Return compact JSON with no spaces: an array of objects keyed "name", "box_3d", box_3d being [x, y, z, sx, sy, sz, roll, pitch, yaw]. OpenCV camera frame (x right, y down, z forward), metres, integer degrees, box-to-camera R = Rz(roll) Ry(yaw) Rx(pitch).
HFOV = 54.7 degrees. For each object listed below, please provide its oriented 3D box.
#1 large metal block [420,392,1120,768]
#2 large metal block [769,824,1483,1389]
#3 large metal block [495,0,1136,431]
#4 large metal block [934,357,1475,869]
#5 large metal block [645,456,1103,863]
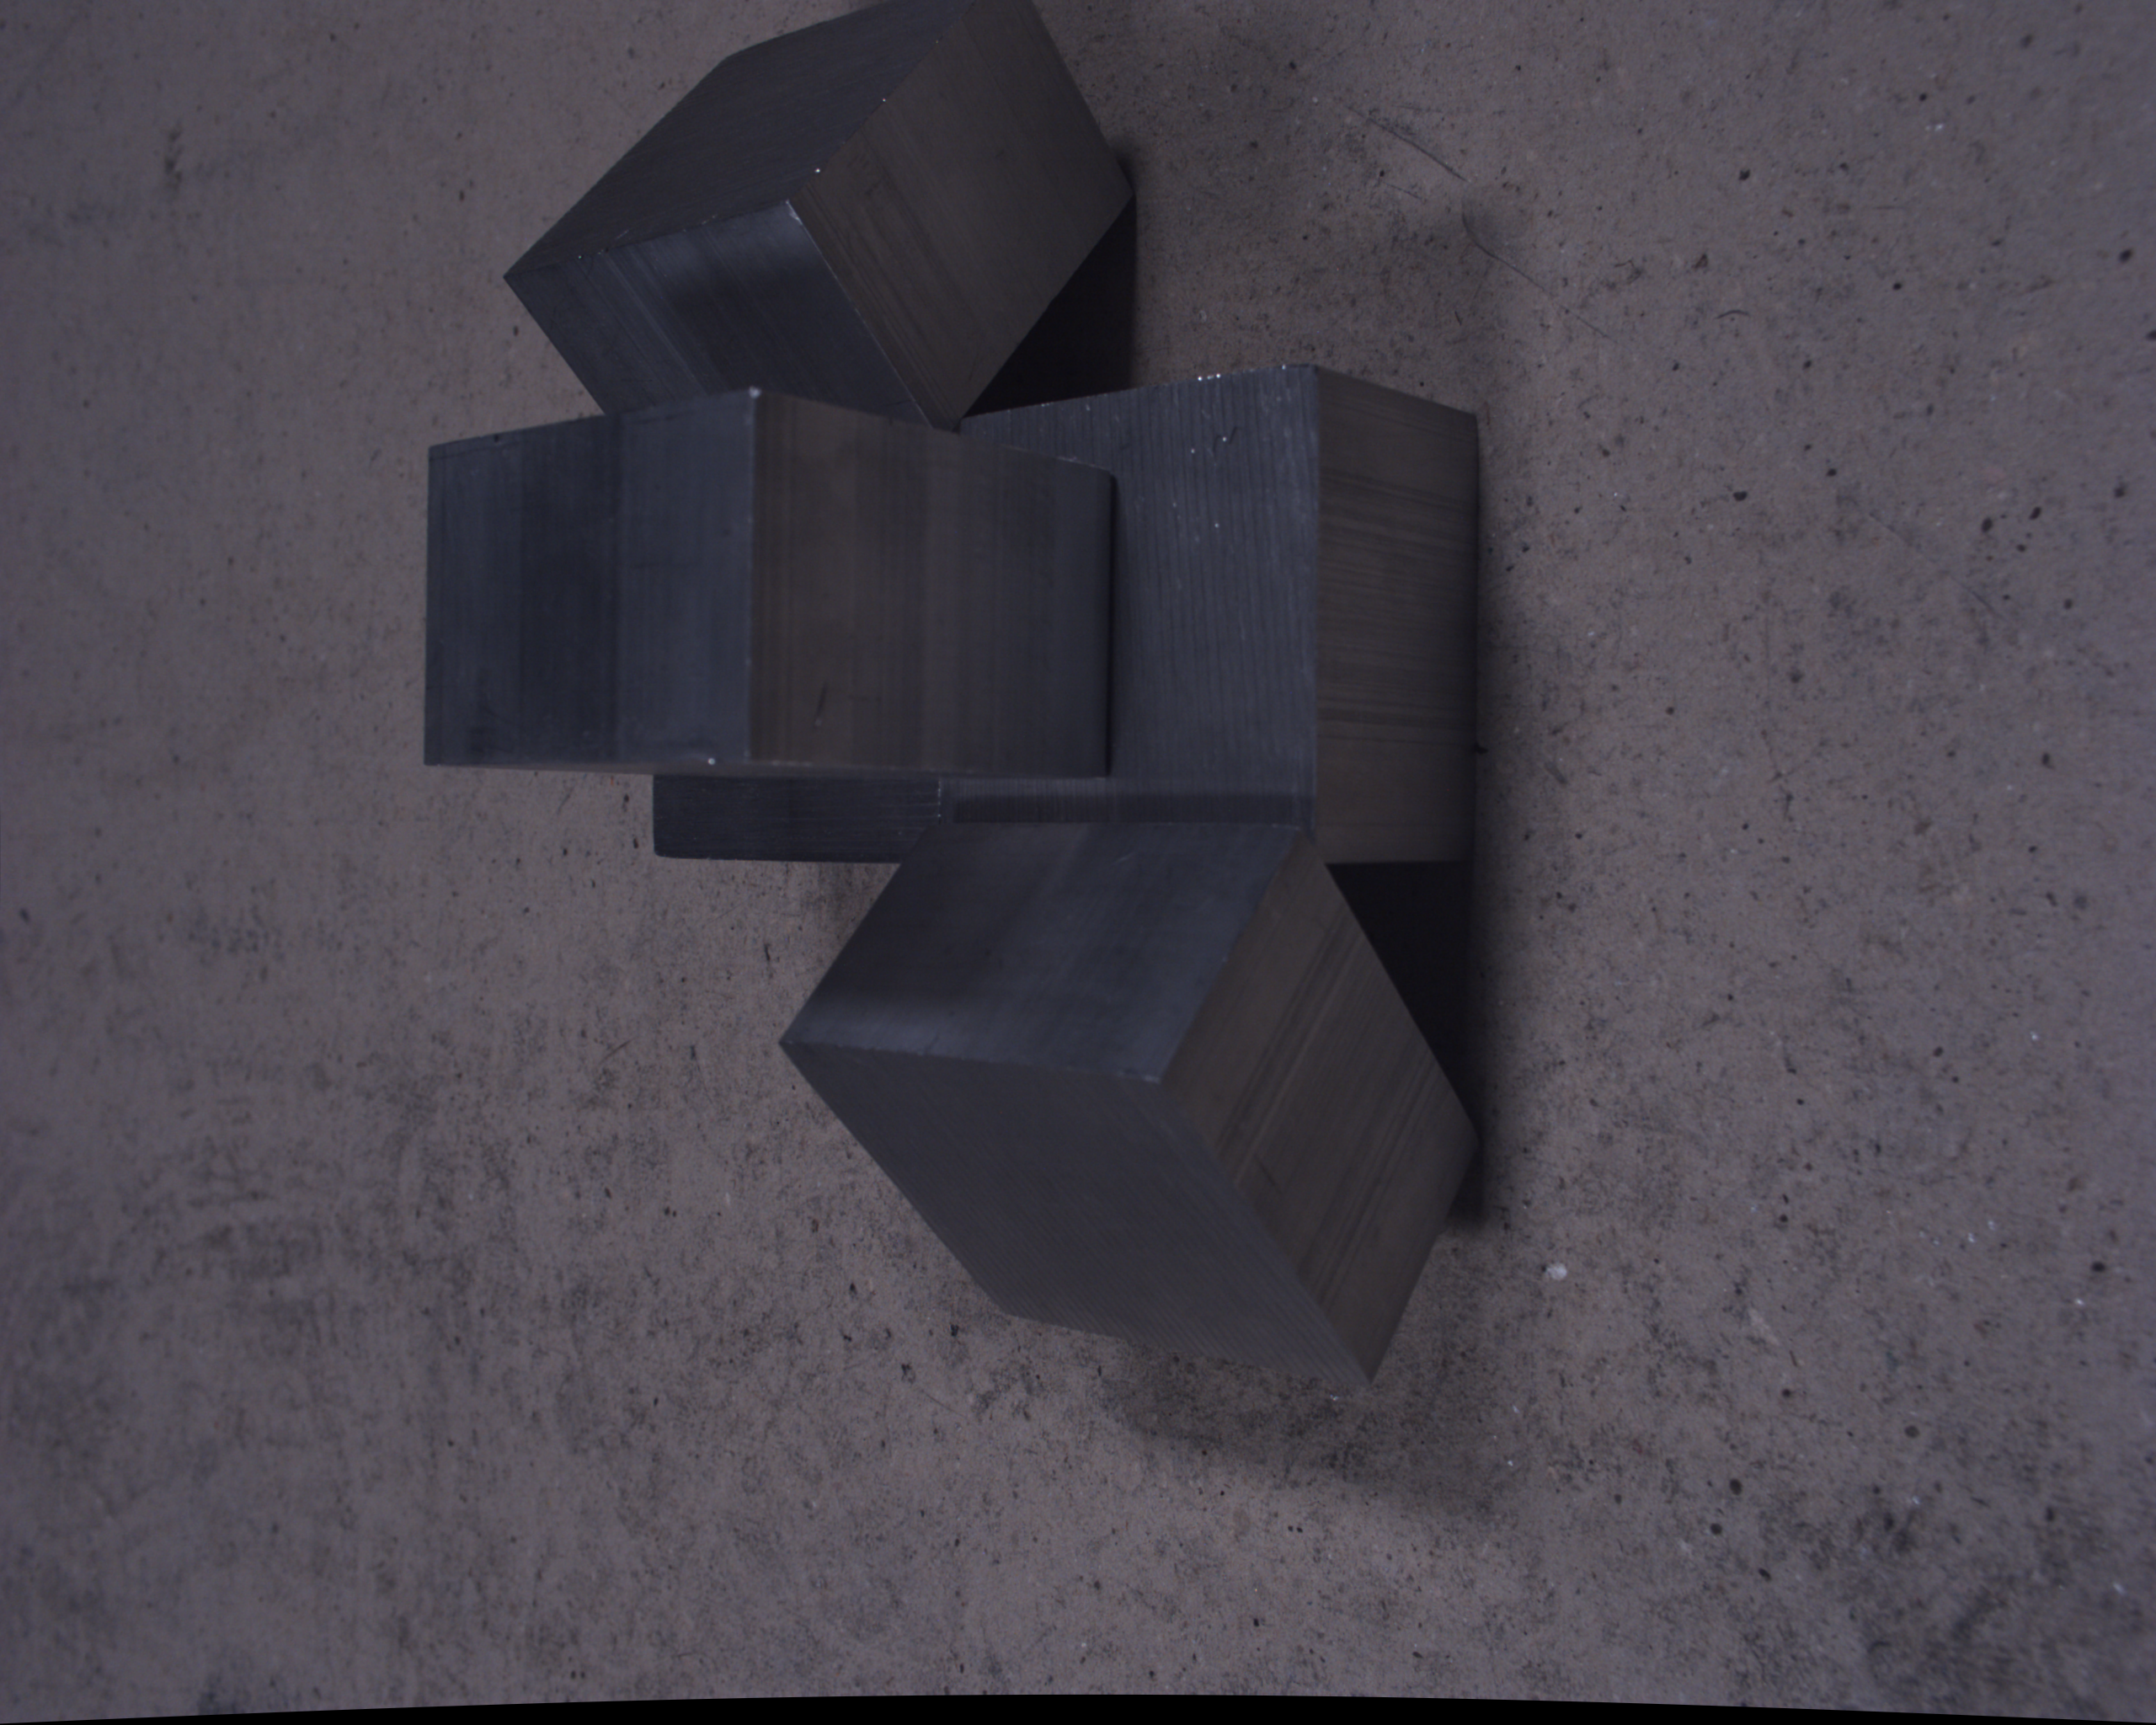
[{"name":"large metal block","box_3d":[-0.050,-0.042,0.345,0.080,0.081,0.050,2,91,39]},{"name":"large metal block","box_3d":[0.010,0.039,0.353,0.080,0.080,0.050,1,47,39]},{"name":"large metal block","box_3d":[-0.049,-0.122,0.401,0.080,0.050,0.080,1,47,40]},{"name":"large metal block","box_3d":[0.021,-0.040,0.369,0.080,0.050,0.079,1,91,39]},{"name":"large metal block","box_3d":[-0.041,-0.040,0.420,0.080,0.050,0.079,1,91,39]}]
